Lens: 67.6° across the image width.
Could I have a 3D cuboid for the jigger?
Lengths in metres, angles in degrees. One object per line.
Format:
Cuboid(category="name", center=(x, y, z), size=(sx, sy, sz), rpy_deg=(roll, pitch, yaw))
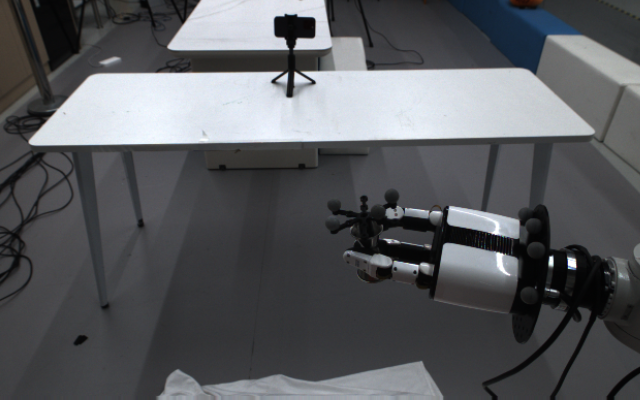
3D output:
Cuboid(category="jigger", center=(0.063, 0.061, 0.597), size=(0.043, 0.071, 0.043), rpy_deg=(-10, 32, 6))
